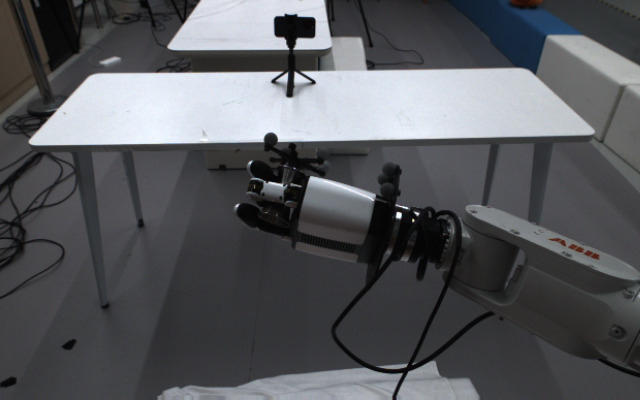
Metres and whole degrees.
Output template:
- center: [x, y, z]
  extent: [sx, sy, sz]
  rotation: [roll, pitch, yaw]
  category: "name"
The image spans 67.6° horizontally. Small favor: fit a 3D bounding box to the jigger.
- center: [-0.044, -0.004, 0.611]
  extent: [0.043, 0.043, 0.071]
  rotation: [12, 71, 14]
  category: "jigger"
